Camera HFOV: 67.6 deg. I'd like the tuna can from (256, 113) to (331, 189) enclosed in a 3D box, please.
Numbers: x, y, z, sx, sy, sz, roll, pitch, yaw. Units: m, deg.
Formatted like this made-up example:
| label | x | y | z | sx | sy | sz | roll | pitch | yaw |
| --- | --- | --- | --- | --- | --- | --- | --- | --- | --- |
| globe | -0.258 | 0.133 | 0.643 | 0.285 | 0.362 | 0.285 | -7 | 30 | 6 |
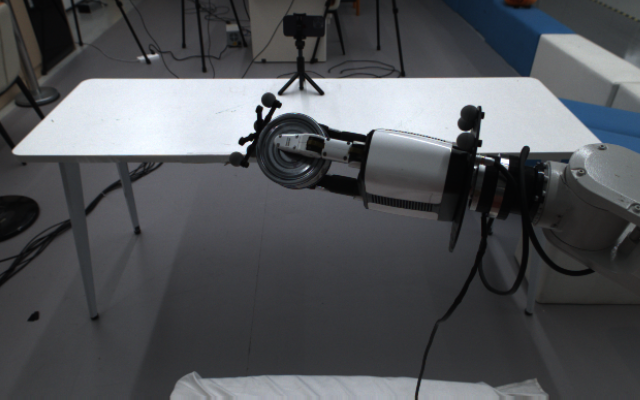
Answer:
| label | x | y | z | sx | sy | sz | roll | pitch | yaw |
| --- | --- | --- | --- | --- | --- | --- | --- | --- | --- |
| tuna can | -0.026 | -0.053 | 0.559 | 0.085 | 0.085 | 0.034 | 9 | -4 | 10 |
